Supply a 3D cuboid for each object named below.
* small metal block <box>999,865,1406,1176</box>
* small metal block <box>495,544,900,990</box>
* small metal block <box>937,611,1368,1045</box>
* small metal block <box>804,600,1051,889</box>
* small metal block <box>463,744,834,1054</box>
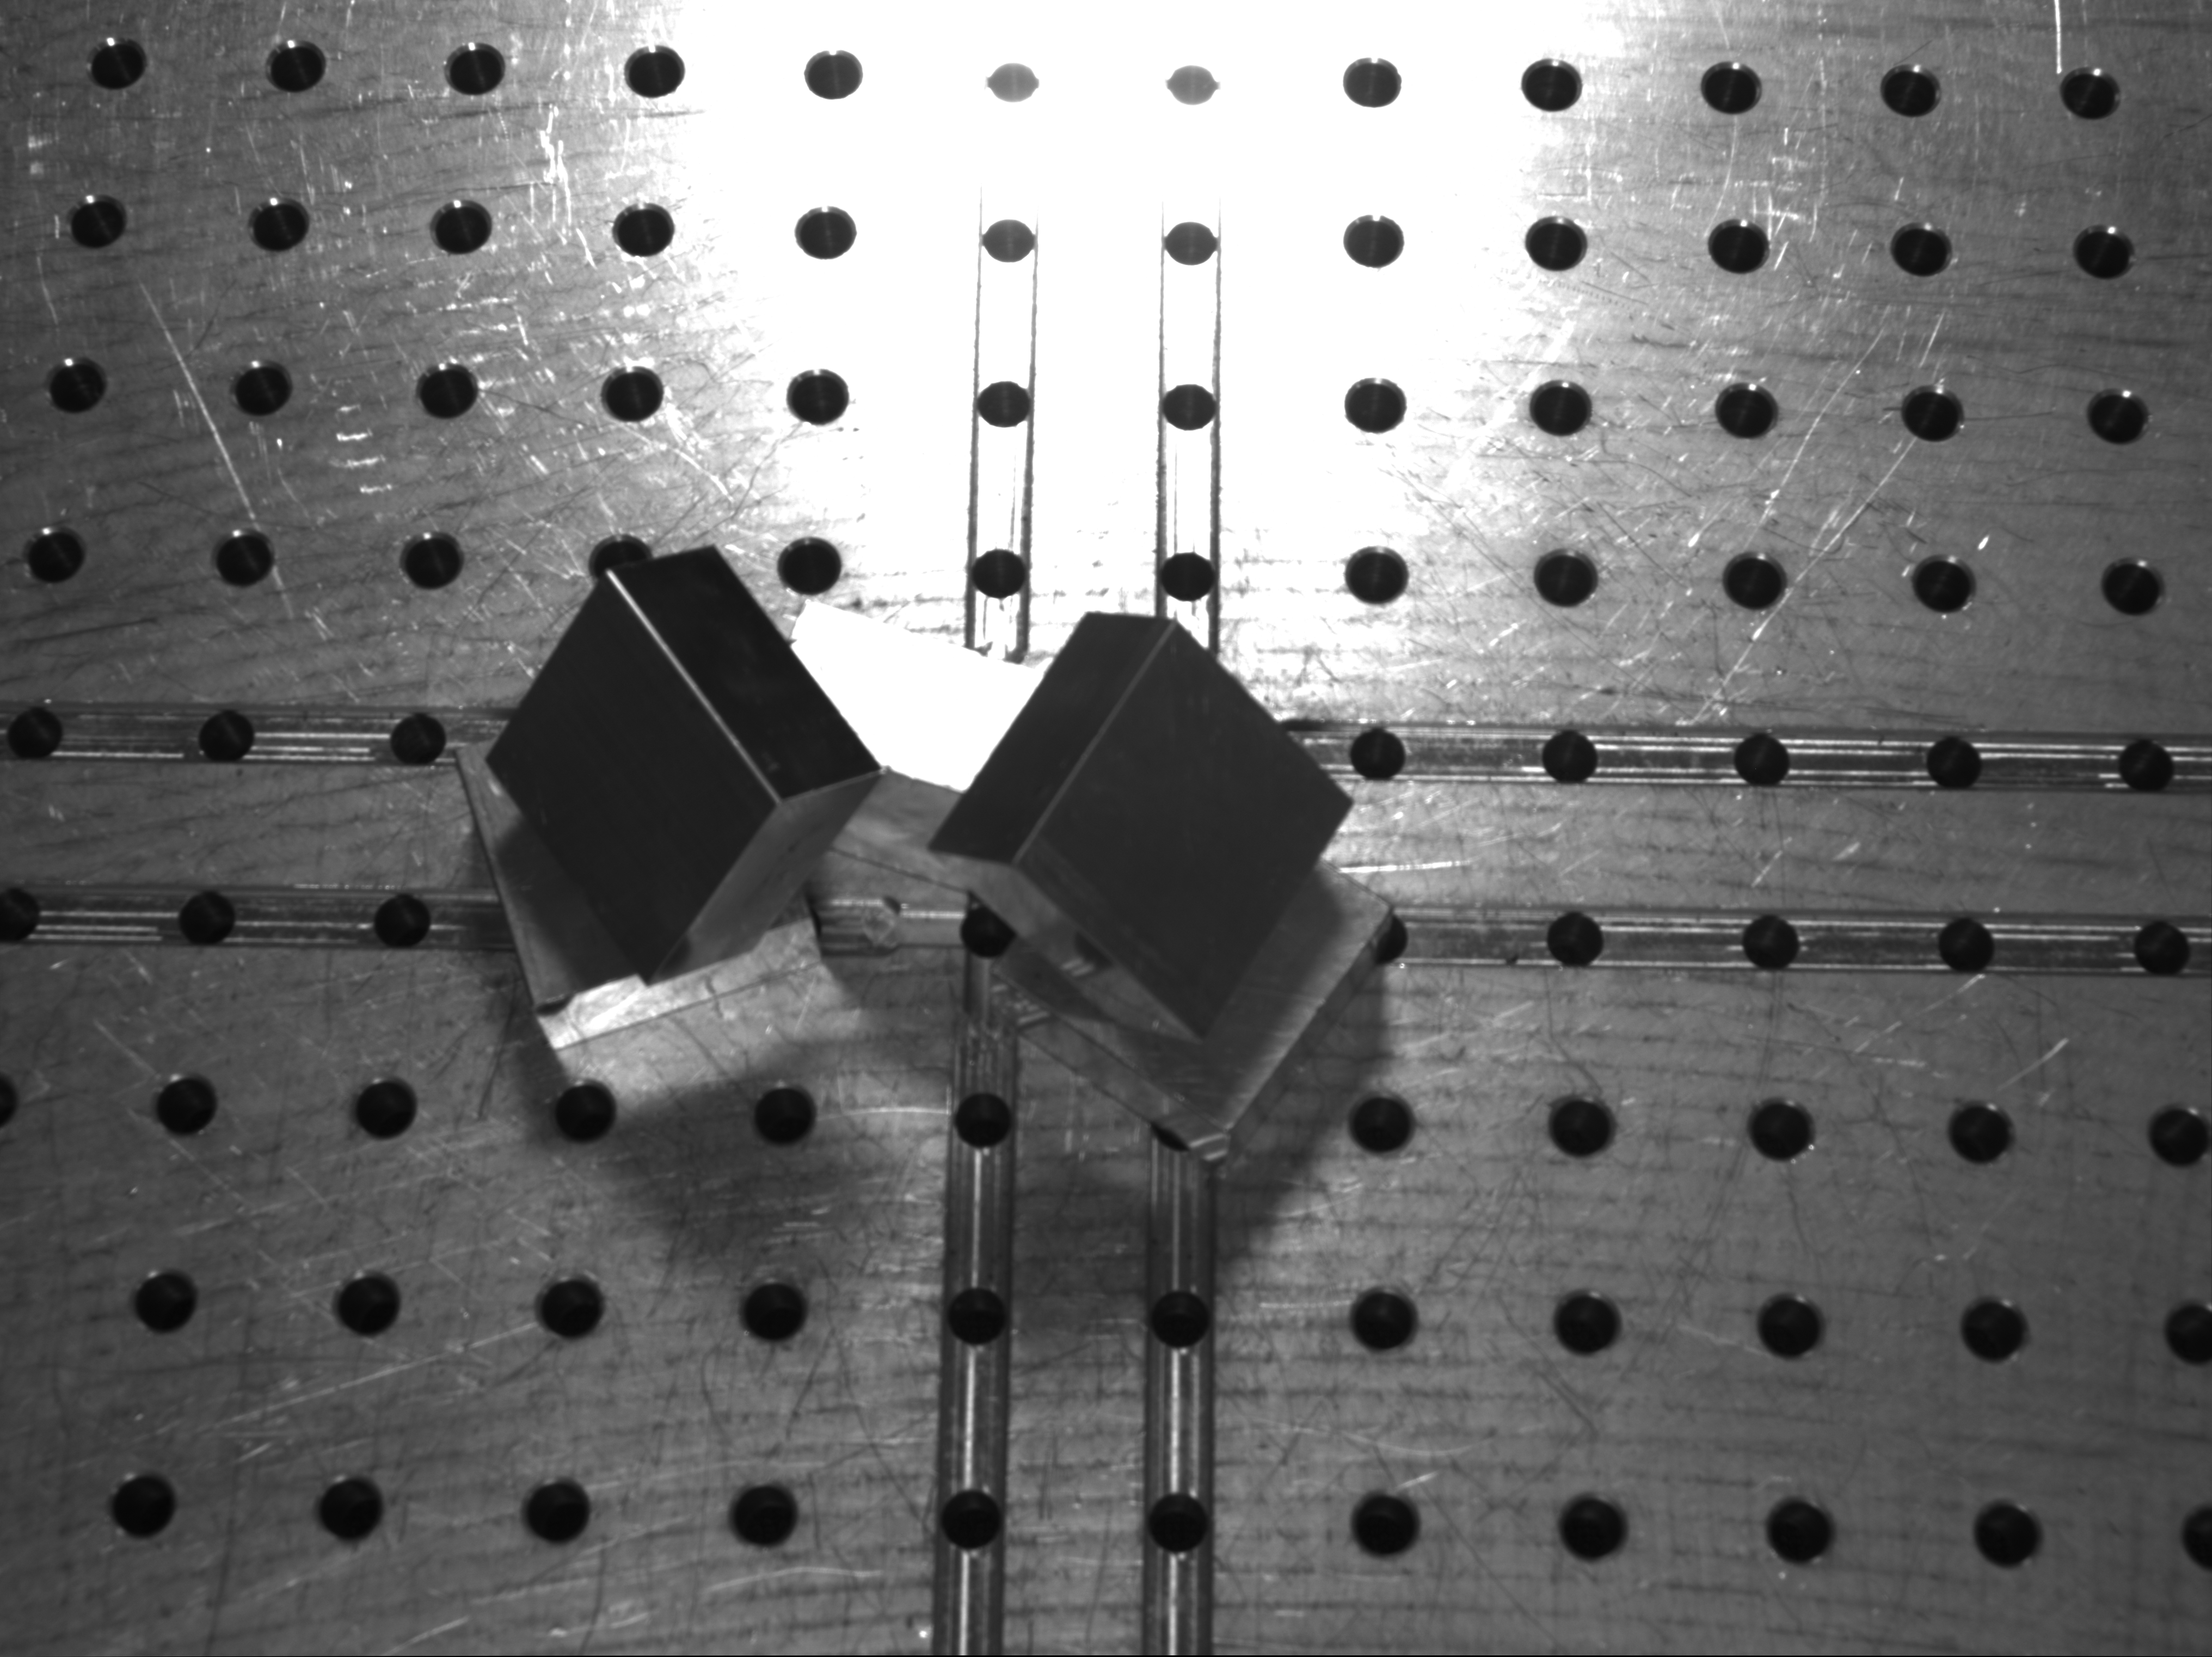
[{"bbox_3d":[0.017,0.024,0.639,0.050,0.025,0.050,34,73,12],"label":"small metal block"},{"bbox_3d":[-0.069,-0.010,0.608,0.025,0.050,0.050,-19,65,-48],"label":"small metal block"},{"bbox_3d":[0.008,0.000,0.606,0.050,0.025,0.050,44,69,-32],"label":"small metal block"},{"bbox_3d":[-0.029,-0.011,0.638,0.050,0.050,0.025,18,71,6],"label":"small metal block"},{"bbox_3d":[-0.080,0.006,0.646,0.050,0.025,0.050,-18,71,-7],"label":"small metal block"}]
